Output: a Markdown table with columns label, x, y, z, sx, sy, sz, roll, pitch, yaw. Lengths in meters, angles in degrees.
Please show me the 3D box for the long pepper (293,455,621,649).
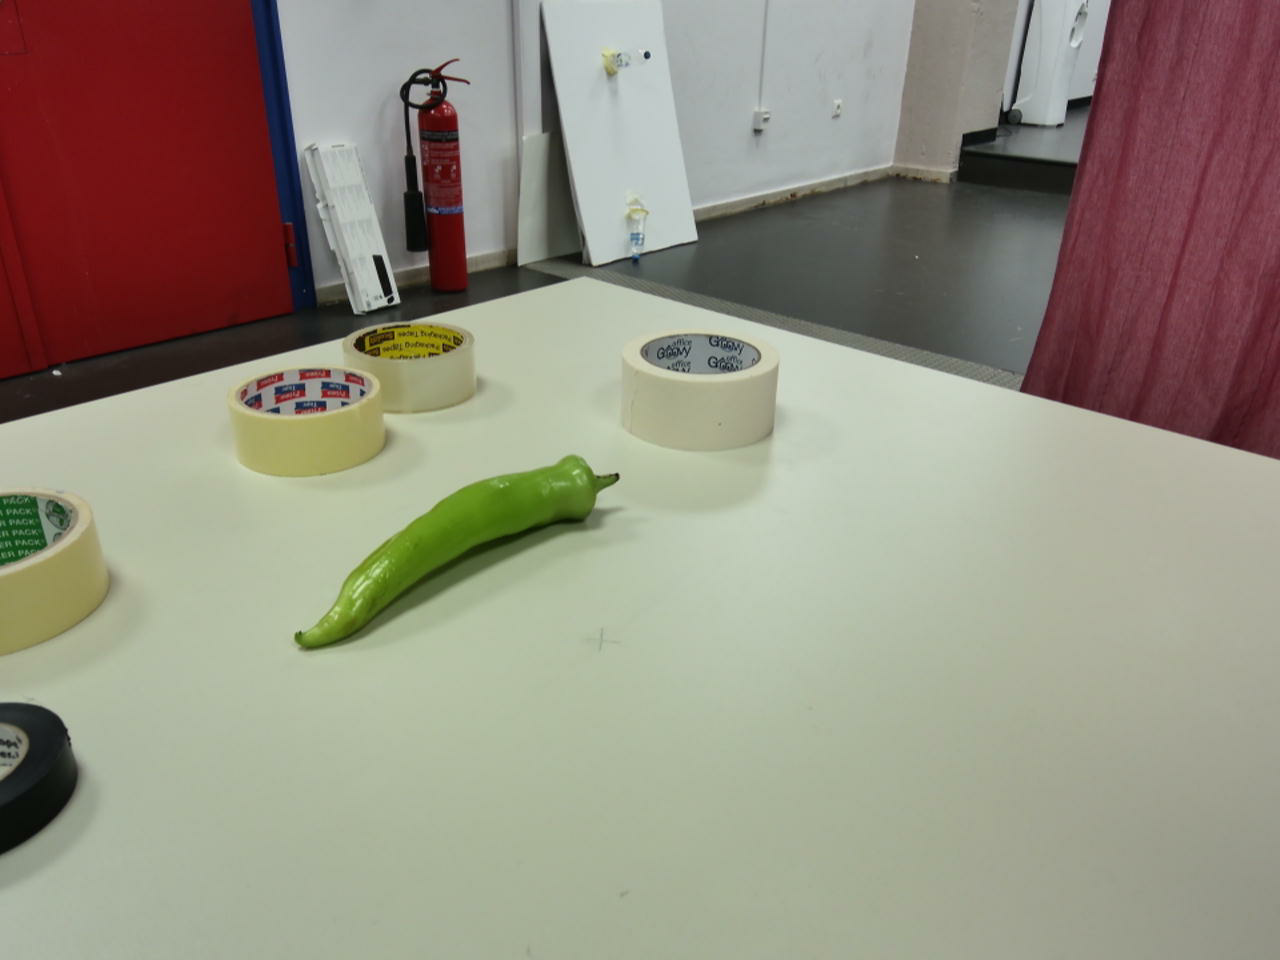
| label | x | y | z | sx | sy | sz | roll | pitch | yaw |
| --- | --- | --- | --- | --- | --- | --- | --- | --- | --- |
| long pepper | -0.090 | 0.026 | 0.501 | 0.047 | 0.038 | 0.197 | 22 | 32 | 38 |
